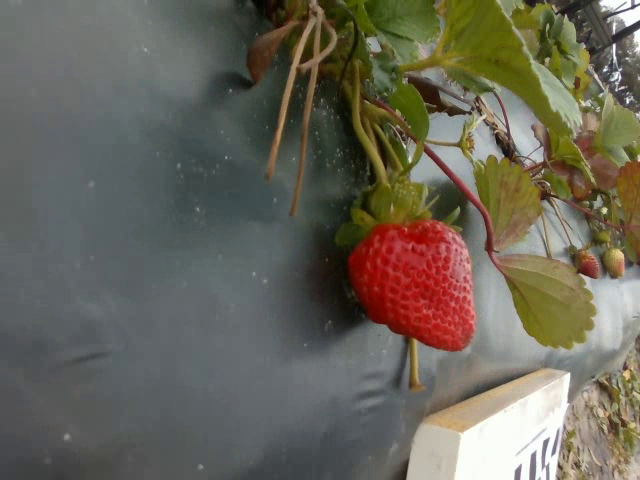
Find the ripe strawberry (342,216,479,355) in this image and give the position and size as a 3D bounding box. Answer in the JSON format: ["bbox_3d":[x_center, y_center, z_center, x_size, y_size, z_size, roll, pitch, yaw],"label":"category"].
[{"bbox_3d":[0.011,0.005,0.066,0.014,0.017,0.018,-36,-18,6],"label":"ripe strawberry"}]
